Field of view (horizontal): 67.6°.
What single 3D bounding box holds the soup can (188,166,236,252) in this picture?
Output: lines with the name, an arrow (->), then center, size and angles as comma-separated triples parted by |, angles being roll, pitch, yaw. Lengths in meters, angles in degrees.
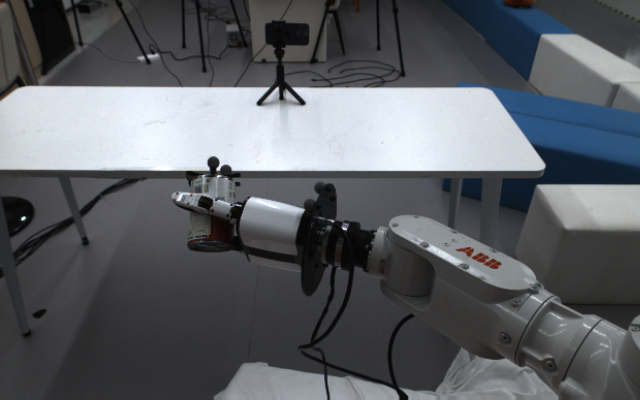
soup can -> -0.157, 0.022, 0.710 | 0.067, 0.067, 0.101 | -1, 71, -5
